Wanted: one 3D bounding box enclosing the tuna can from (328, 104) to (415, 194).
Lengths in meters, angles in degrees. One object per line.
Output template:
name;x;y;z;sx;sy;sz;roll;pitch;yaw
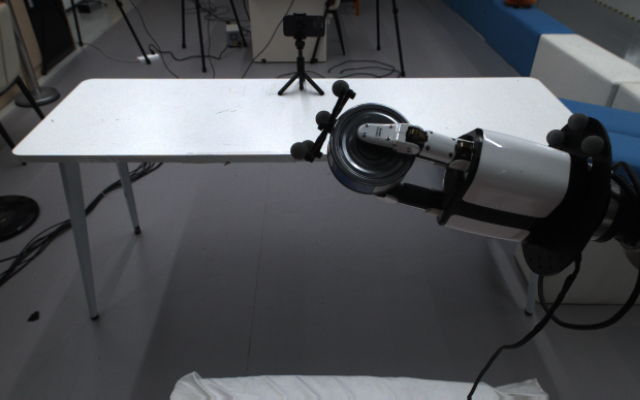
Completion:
tuna can;0.053;-0.053;0.479;0.085;0.034;0.085;1;75;-5
